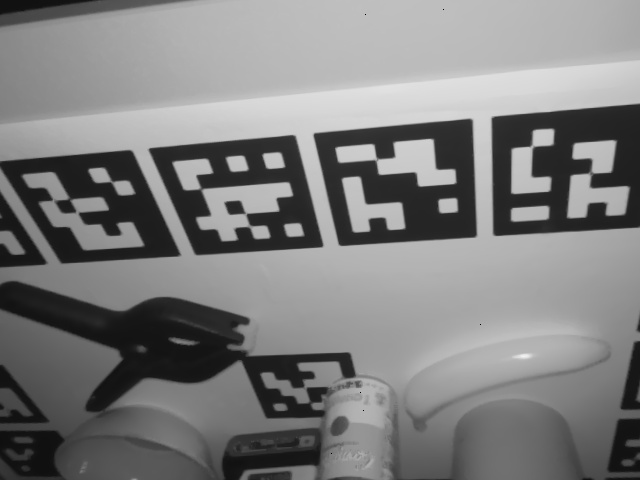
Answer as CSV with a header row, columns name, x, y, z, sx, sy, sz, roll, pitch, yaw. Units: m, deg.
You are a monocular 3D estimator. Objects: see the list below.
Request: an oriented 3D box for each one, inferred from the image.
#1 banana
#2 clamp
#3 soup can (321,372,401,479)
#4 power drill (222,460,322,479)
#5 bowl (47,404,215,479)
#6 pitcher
name,x,y,z,sx,sy,sz,roll,pitch,yaw
banana,0.152,0.107,0.581,0.195,0.039,0.074,-26,131,26
clamp,-0.147,0.084,0.578,0.202,0.037,0.164,-7,124,11
soup can,0.036,0.177,0.605,0.068,0.103,0.067,2,138,2
power drill,-0.067,0.300,0.635,0.183,0.189,0.057,-8,128,13
bowl,-0.177,0.211,0.681,0.161,0.056,0.160,2,128,3
pitcher,0.159,0.260,0.570,0.186,0.245,0.134,-25,126,24
